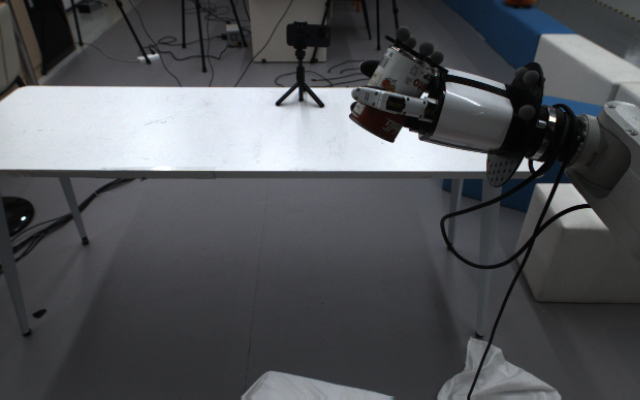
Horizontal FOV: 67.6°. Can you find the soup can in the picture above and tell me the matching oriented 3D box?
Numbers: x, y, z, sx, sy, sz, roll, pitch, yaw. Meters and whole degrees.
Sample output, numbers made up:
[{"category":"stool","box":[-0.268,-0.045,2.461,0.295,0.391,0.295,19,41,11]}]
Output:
[{"category":"soup can","box":[0.091,-0.133,0.609,0.067,0.101,0.067,27,18,-9]}]
